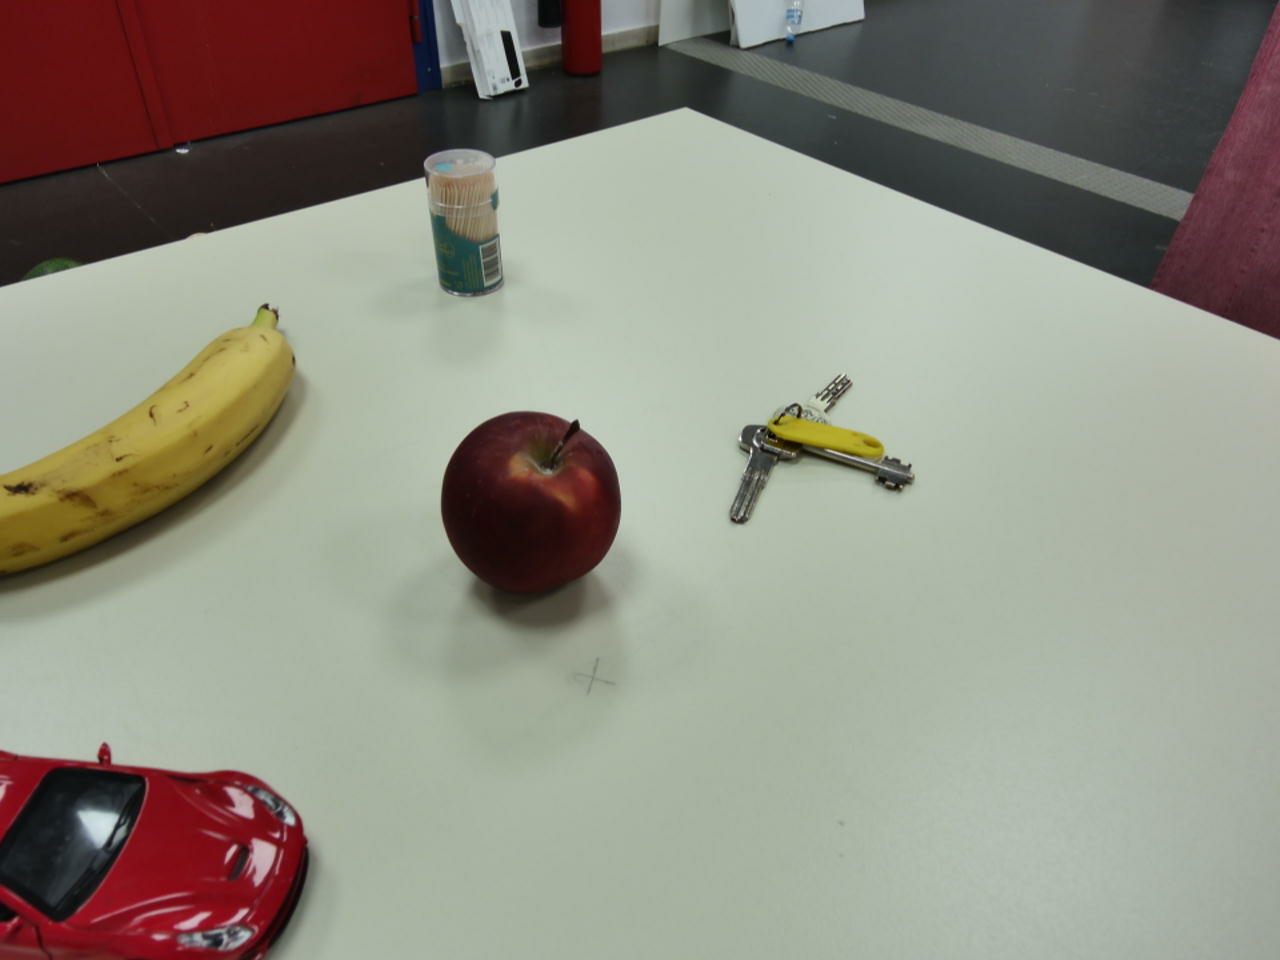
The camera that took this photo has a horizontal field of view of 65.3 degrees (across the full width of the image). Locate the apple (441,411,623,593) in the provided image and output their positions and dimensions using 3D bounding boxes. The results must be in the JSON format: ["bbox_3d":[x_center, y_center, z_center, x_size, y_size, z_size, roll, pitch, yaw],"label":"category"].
[{"bbox_3d":[-0.042,0.009,0.386,0.070,0.072,0.070,0,37,0],"label":"apple"}]
